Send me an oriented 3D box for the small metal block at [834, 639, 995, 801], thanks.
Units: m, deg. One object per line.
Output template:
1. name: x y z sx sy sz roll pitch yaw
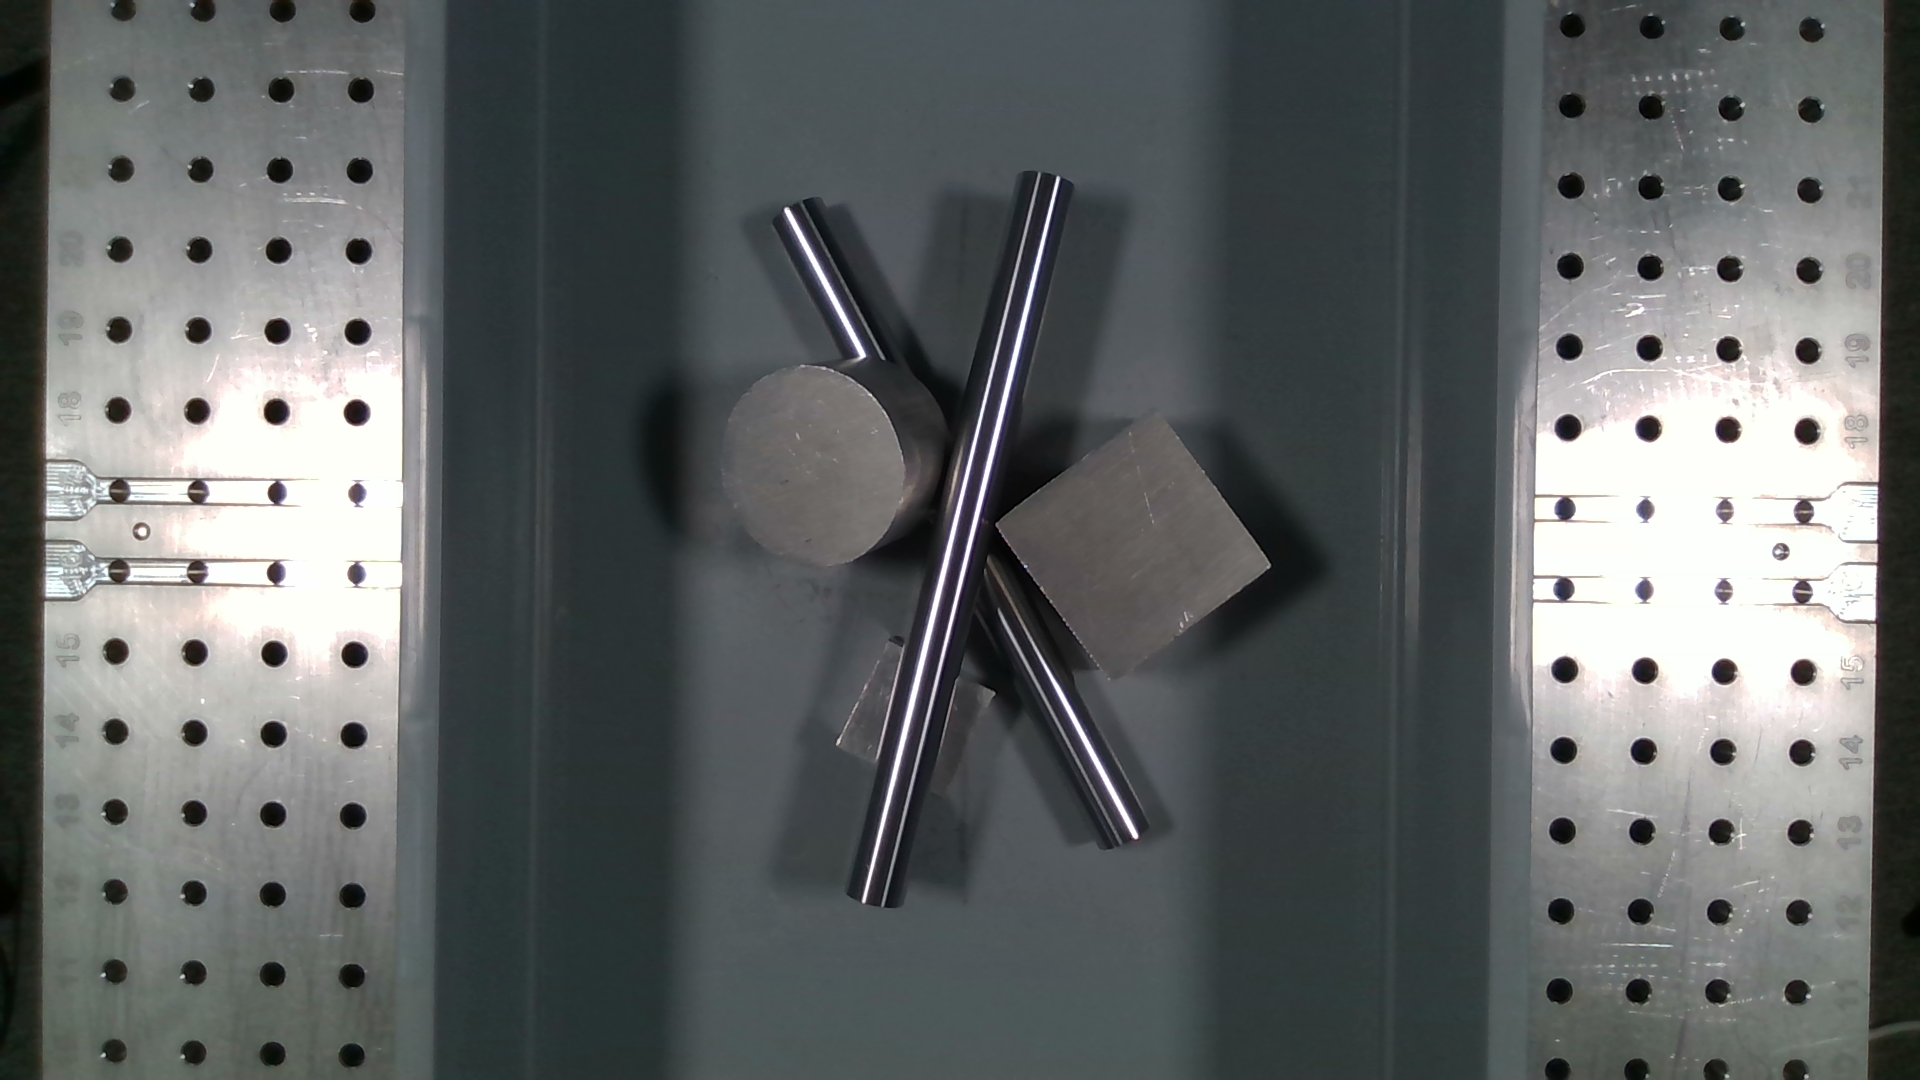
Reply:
1. small metal block: -0.019 0.075 0.585 0.050 0.025 0.050 26 90 0

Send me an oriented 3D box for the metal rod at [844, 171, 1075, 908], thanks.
1. metal rod: 0.000 0.000 0.561 0.025 0.025 0.300 14 90 0

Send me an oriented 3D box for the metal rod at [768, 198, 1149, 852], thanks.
1. metal rod: 0.000 -0.006 0.585 0.025 0.025 0.300 -28 91 0

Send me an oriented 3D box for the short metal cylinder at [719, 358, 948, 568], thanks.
1. short metal cylinder: -0.050 -0.033 0.559 0.080 0.050 0.080 5 103 21

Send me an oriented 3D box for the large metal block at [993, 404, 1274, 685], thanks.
1. large metal block: 0.069 0.002 0.573 0.080 0.050 0.080 -36 90 0
